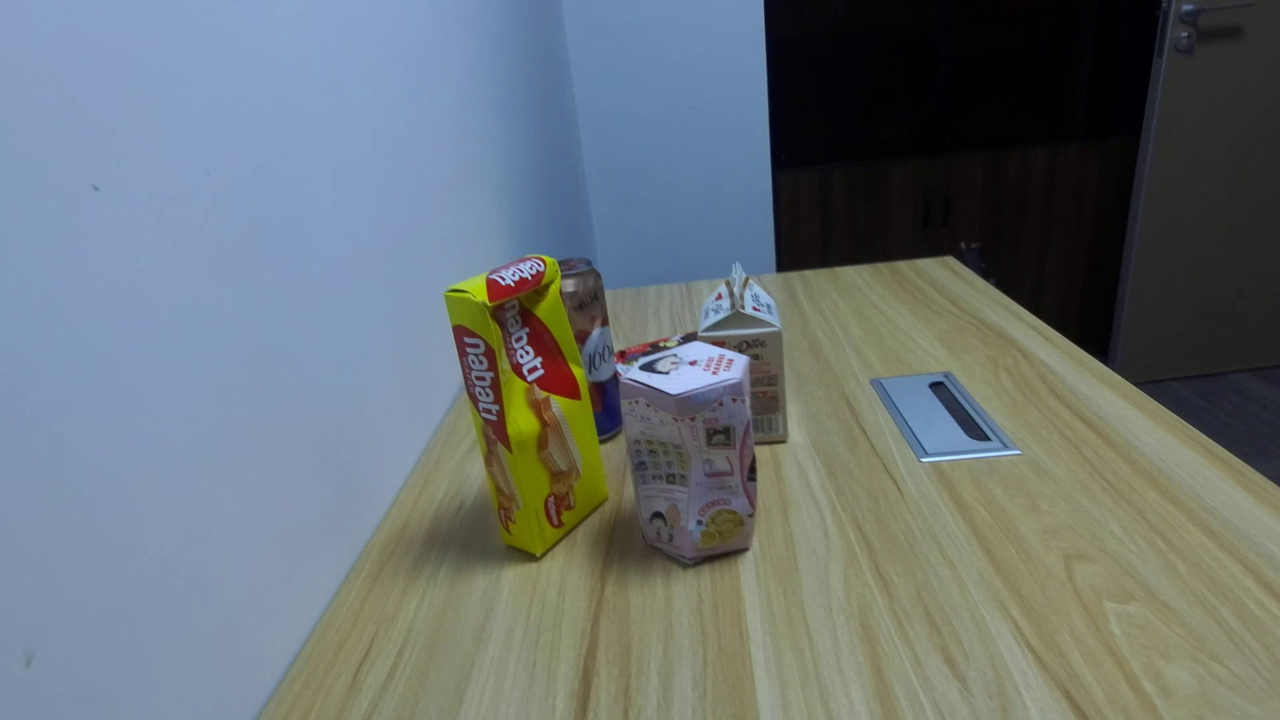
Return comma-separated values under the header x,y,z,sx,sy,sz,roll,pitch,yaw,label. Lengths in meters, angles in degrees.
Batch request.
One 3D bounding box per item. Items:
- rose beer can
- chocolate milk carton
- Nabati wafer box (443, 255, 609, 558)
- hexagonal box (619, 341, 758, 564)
x,y,z,sx,sy,sz,roll,pitch,yaw,label
-0.057,-0.007,0.660,0.065,0.167,0.076,7,31,37,rose beer can
0.090,-0.008,0.632,0.074,0.148,0.075,-3,22,7,chocolate milk carton
-0.076,0.034,0.521,0.042,0.203,0.097,6,24,36,Nabati wafer box
0.039,0.066,0.495,0.093,0.135,0.088,-14,24,-18,hexagonal box
